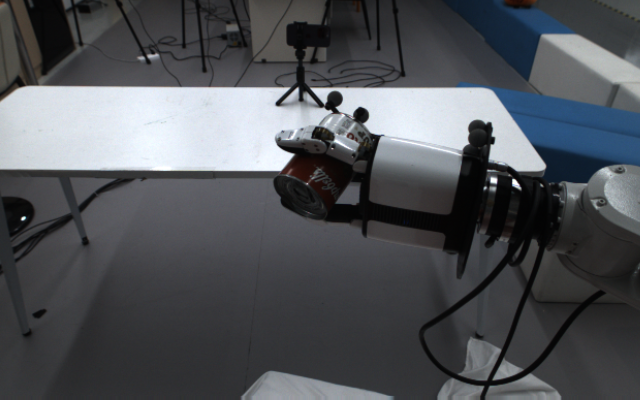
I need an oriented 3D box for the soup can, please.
[{"bbox_3d":[0.008,-0.038,0.523,0.067,0.067,0.101,22,60,26],"label":"soup can"}]
